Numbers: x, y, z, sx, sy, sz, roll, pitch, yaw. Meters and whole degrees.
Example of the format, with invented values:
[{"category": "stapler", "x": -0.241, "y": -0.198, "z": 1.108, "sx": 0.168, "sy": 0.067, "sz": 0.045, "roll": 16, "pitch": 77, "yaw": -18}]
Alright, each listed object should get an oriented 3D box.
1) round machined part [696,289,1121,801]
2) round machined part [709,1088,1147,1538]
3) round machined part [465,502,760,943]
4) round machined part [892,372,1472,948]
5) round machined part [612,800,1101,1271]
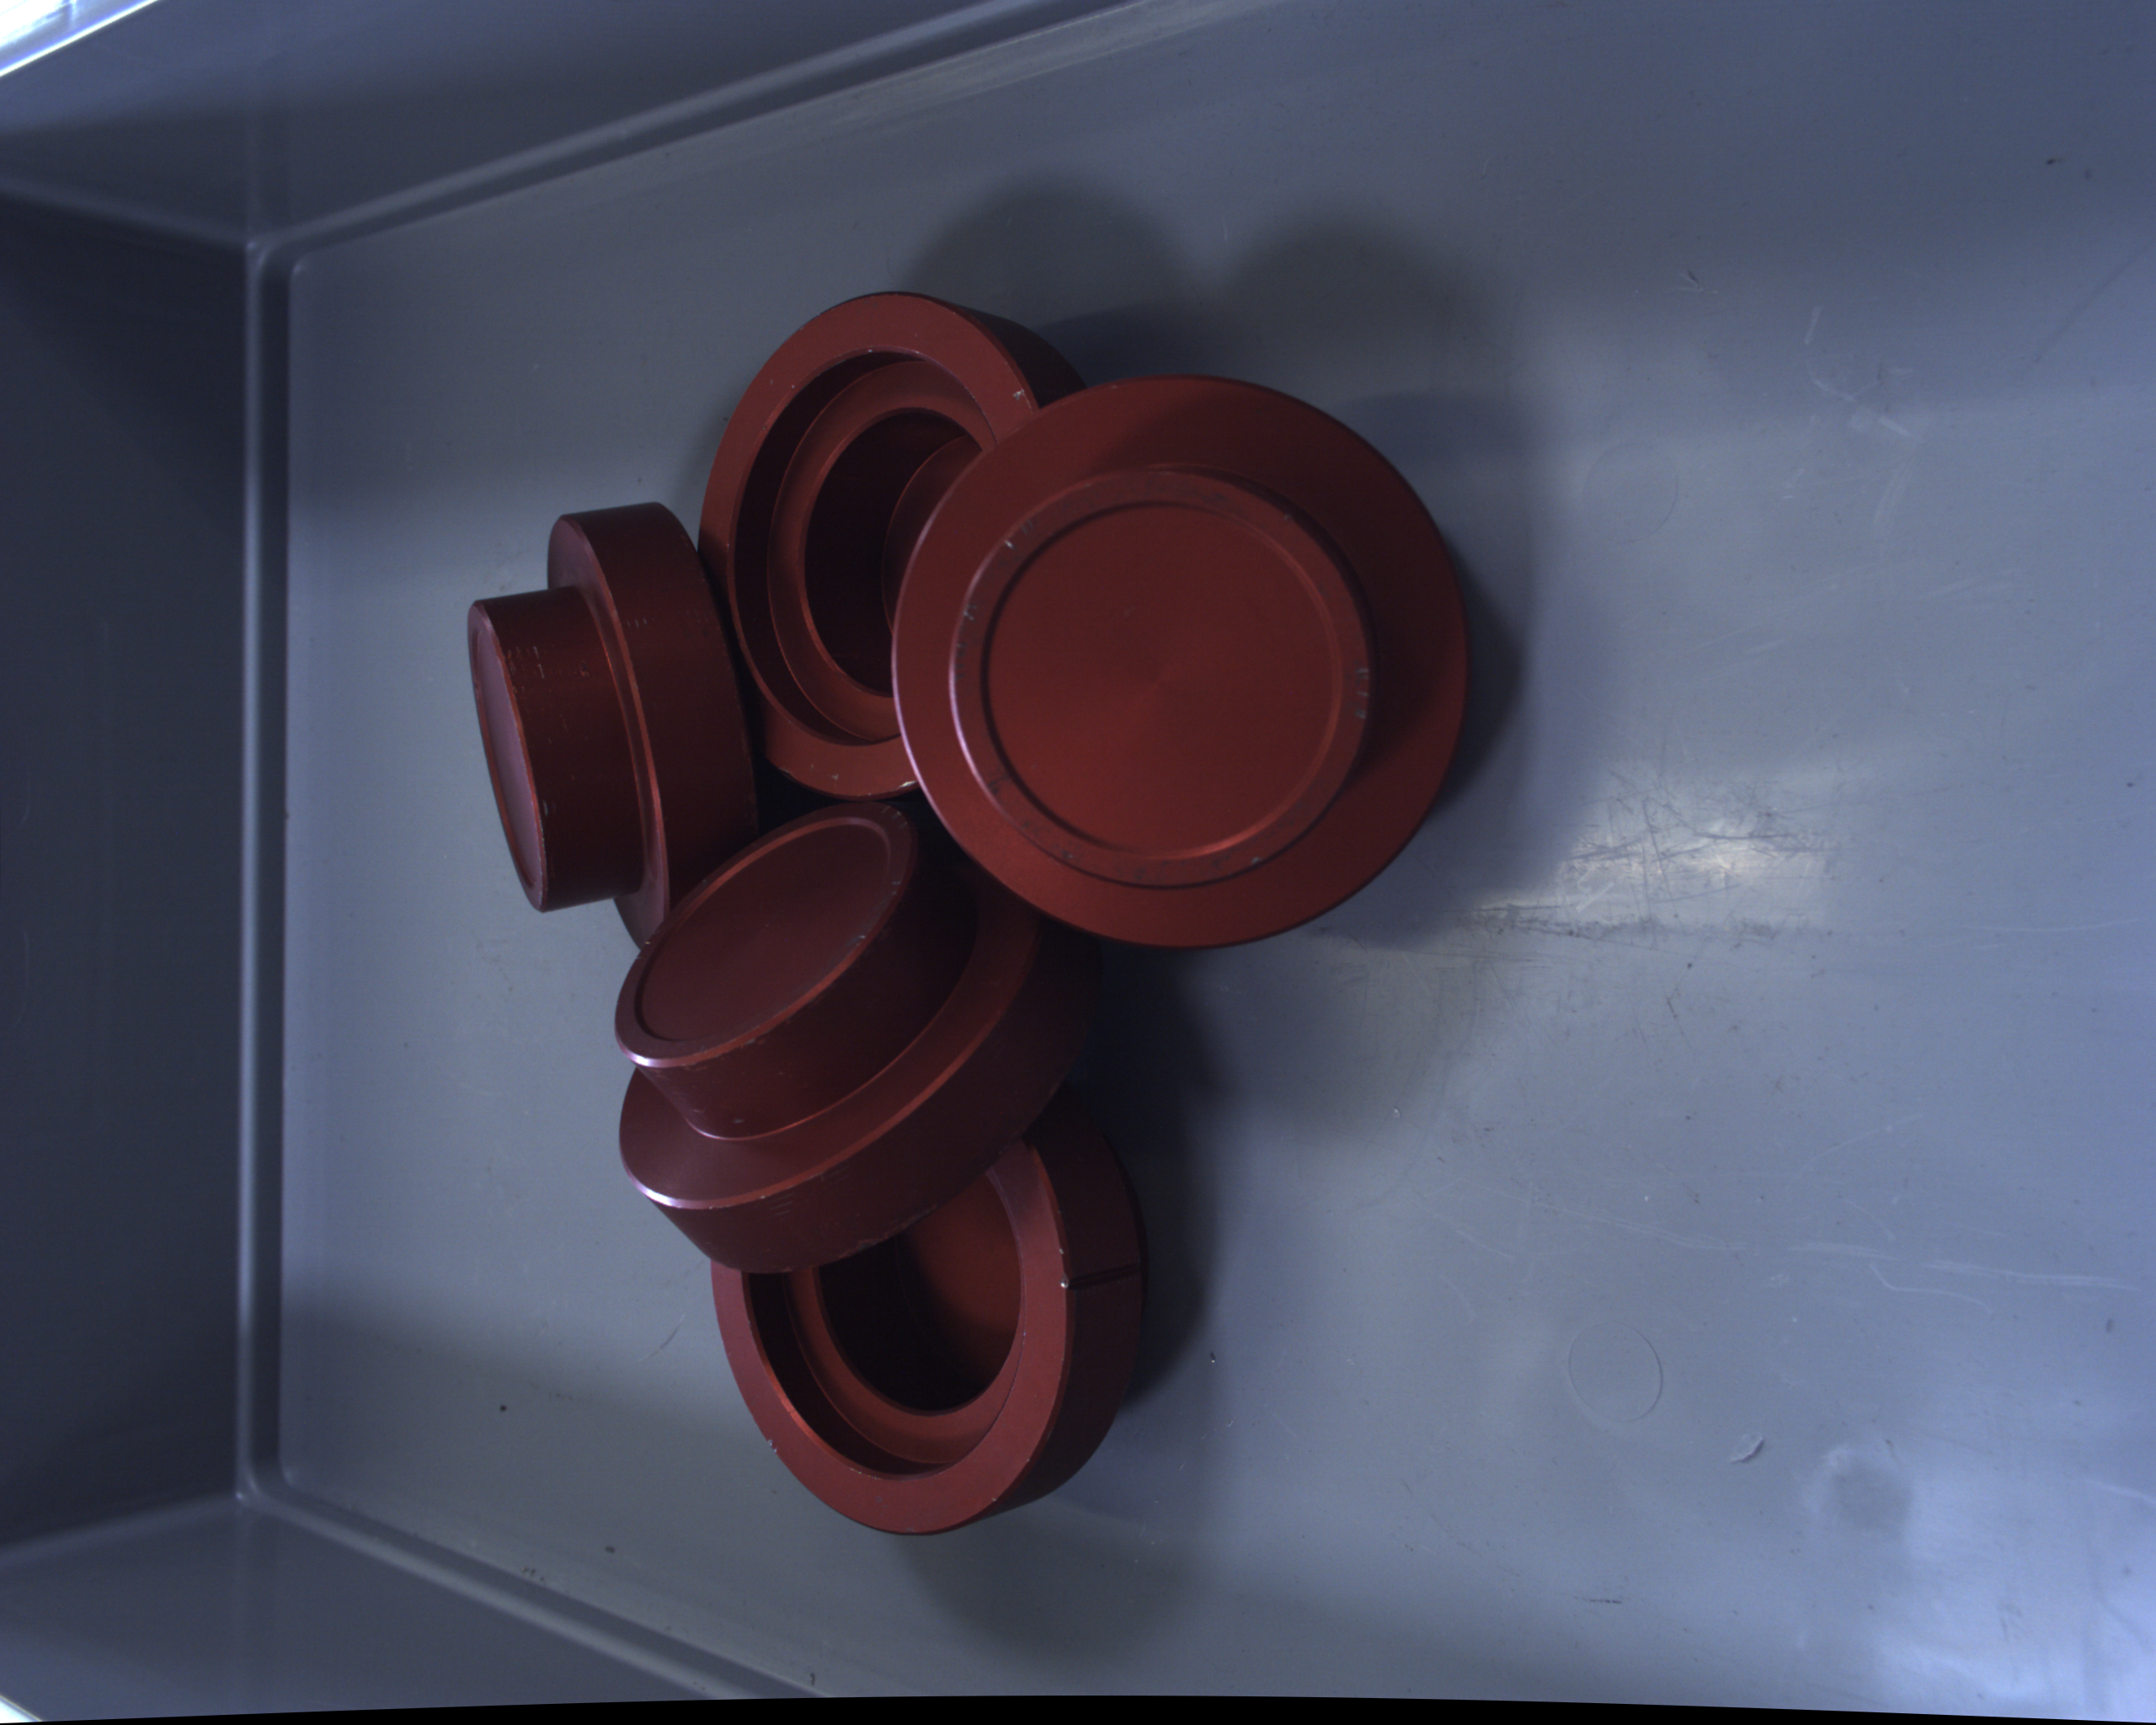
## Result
[{"category": "round machined part", "x": -0.029, "y": -0.061, "z": 0.416, "sx": 0.098, "sy": 0.042, "sz": 0.097, "roll": 0, "pitch": 90, "yaw": 40}, {"category": "round machined part", "x": -0.025, "y": 0.079, "z": 0.414, "sx": 0.098, "sy": 0.042, "sz": 0.097, "roll": 0, "pitch": 90, "yaw": 40}, {"category": "round machined part", "x": -0.104, "y": -0.026, "z": 0.451, "sx": 0.098, "sy": 0.042, "sz": 0.097, "roll": 168, "pitch": 90, "yaw": -68}, {"category": "round machined part", "x": 0.016, "y": -0.033, "z": 0.351, "sx": 0.098, "sy": 0.042, "sz": 0.097, "roll": 2, "pitch": 101, "yaw": 9}, {"category": "round machined part", "x": -0.048, "y": 0.026, "z": 0.397, "sx": 0.098, "sy": 0.098, "sz": 0.042, "roll": -8, "pitch": 129, "yaw": 39}]
